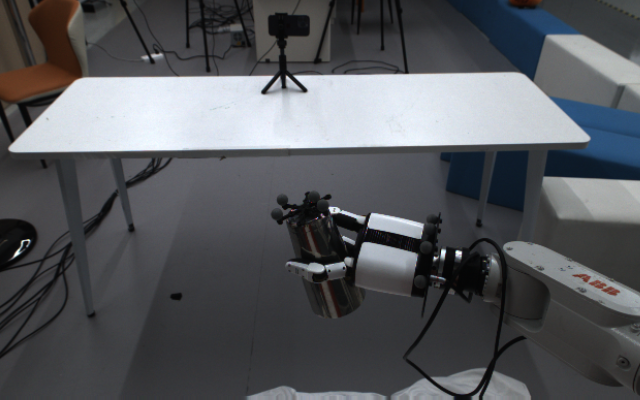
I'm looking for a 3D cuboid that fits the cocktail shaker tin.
[{"bbox_3d":[0.005,0.089,0.747,0.093,0.170,0.093,-15,29,8],"label":"cocktail shaker tin"}]
